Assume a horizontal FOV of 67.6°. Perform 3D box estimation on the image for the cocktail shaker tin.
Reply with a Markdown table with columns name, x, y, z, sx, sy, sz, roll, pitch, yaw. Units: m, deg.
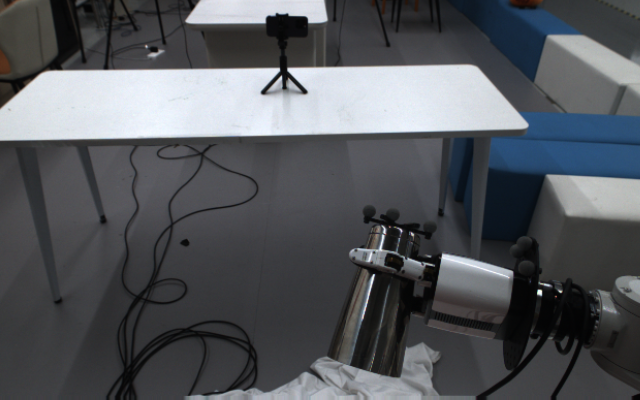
| name | x | y | z | sx | sy | sz | roll | pitch | yaw |
| --- | --- | --- | --- | --- | --- | --- | --- | --- | --- |
| cocktail shaker tin | 0.079 | 0.119 | 0.606 | 0.093 | 0.093 | 0.170 | 13 | 78 | 15 |
